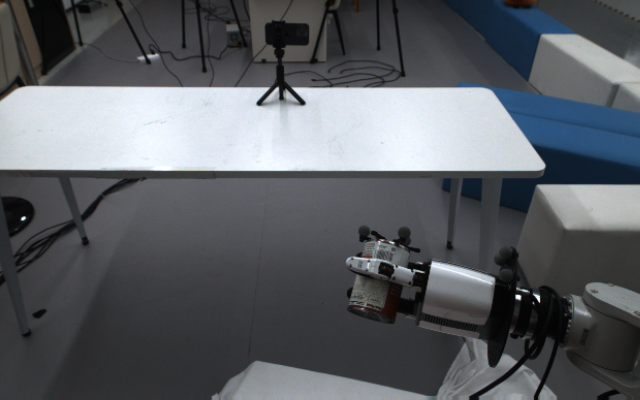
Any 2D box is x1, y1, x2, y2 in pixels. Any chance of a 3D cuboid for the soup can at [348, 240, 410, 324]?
[{"bbox_3d":[0.085,0.112,0.671,0.067,0.067,0.101,12,70,14],"label":"soup can"}]
